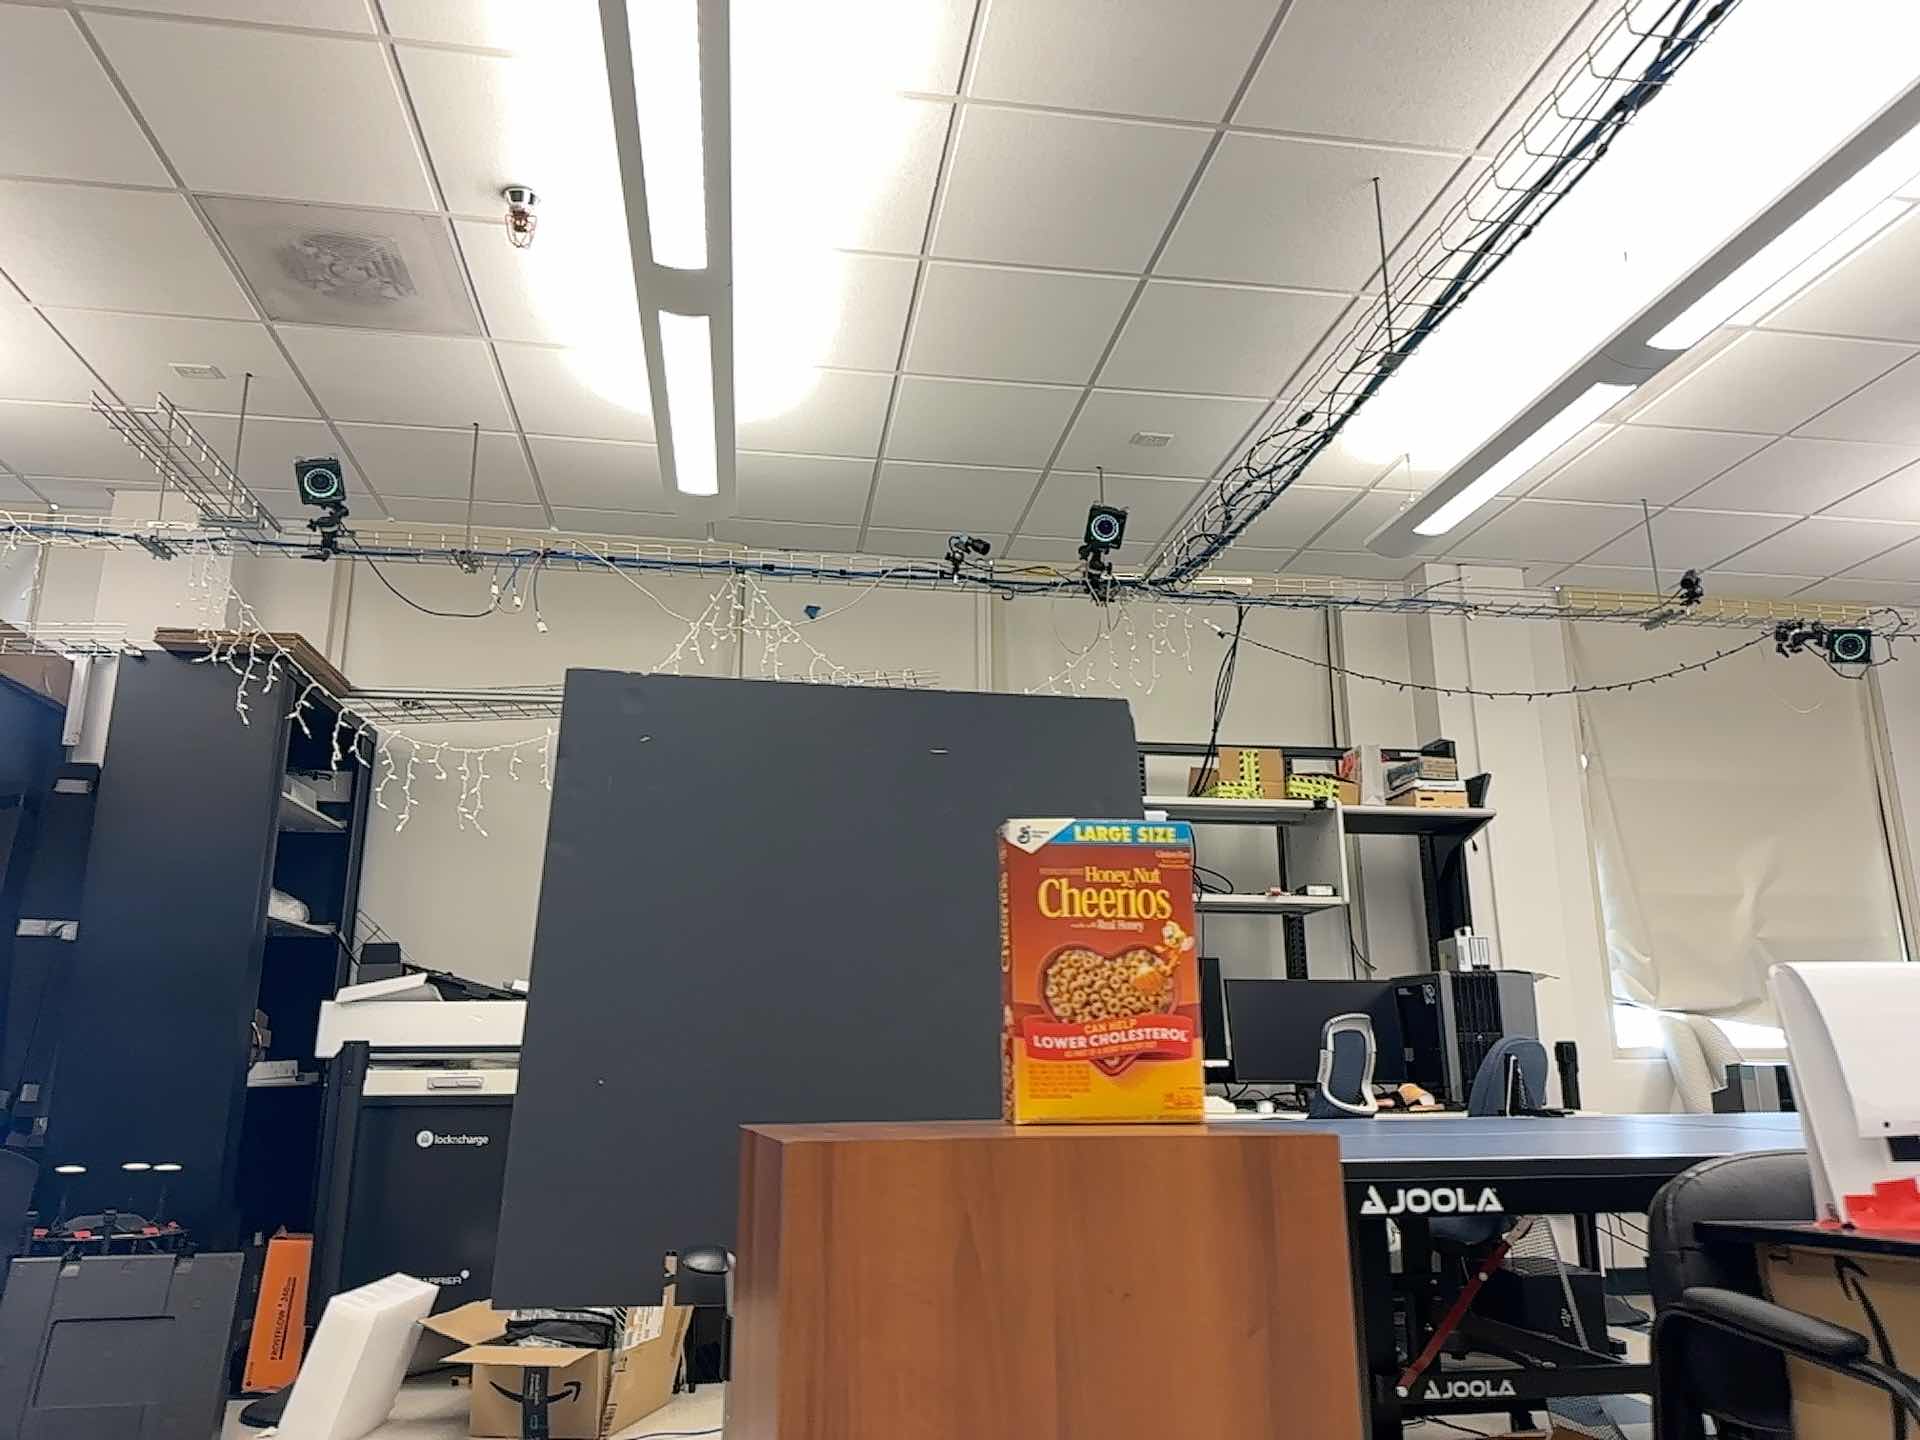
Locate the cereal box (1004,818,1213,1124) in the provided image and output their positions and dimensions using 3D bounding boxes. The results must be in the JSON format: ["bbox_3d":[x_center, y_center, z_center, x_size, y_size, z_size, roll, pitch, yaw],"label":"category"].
[{"bbox_3d":[0.149,0.255,1.386,0.195,0.297,0.065,1,-11,-2],"label":"cereal box"}]
